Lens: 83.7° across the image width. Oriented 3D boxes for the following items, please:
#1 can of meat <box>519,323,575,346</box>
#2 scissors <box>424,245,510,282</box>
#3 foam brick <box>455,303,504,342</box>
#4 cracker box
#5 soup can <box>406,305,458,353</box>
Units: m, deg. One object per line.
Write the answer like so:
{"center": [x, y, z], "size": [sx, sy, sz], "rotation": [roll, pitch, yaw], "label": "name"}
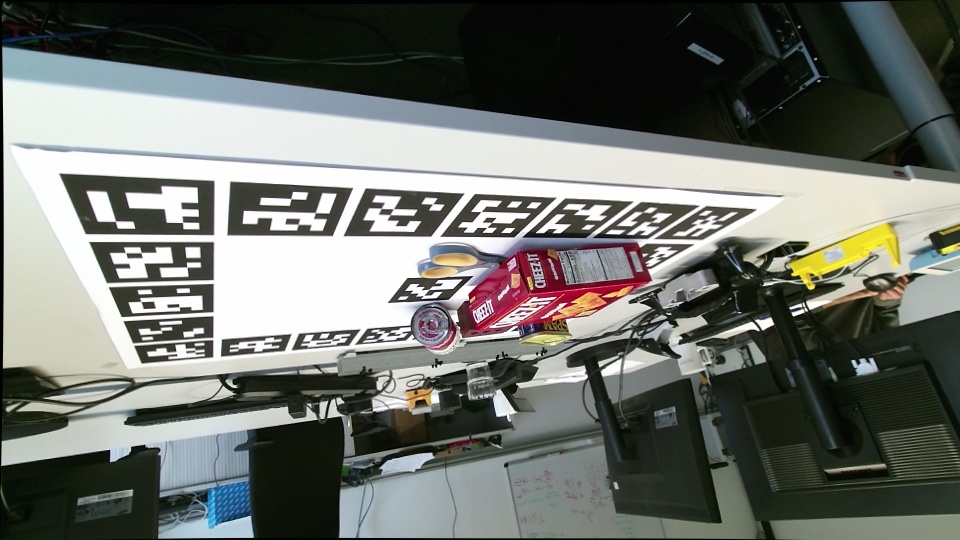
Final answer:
{"center": [0.106, 0.087, 0.926], "size": [0.102, 0.083, 0.058], "rotation": [7, 149, -40], "label": "can of meat"}
{"center": [0.024, -0.011, 0.718], "size": [0.203, 0.016, 0.088], "rotation": [-4, 154, -23], "label": "scissors"}
{"center": [0.004, 0.086, 0.915], "size": [0.078, 0.051, 0.053], "rotation": [-6, 155, -18], "label": "foam brick"}
{"center": [0.119, 0.030, 0.787], "size": [0.214, 0.071, 0.164], "rotation": [-7, 157, -25], "label": "cracker box"}
{"center": [-0.080, 0.101, 0.898], "size": [0.068, 0.067, 0.102], "rotation": [-17, 162, 6], "label": "soup can"}
